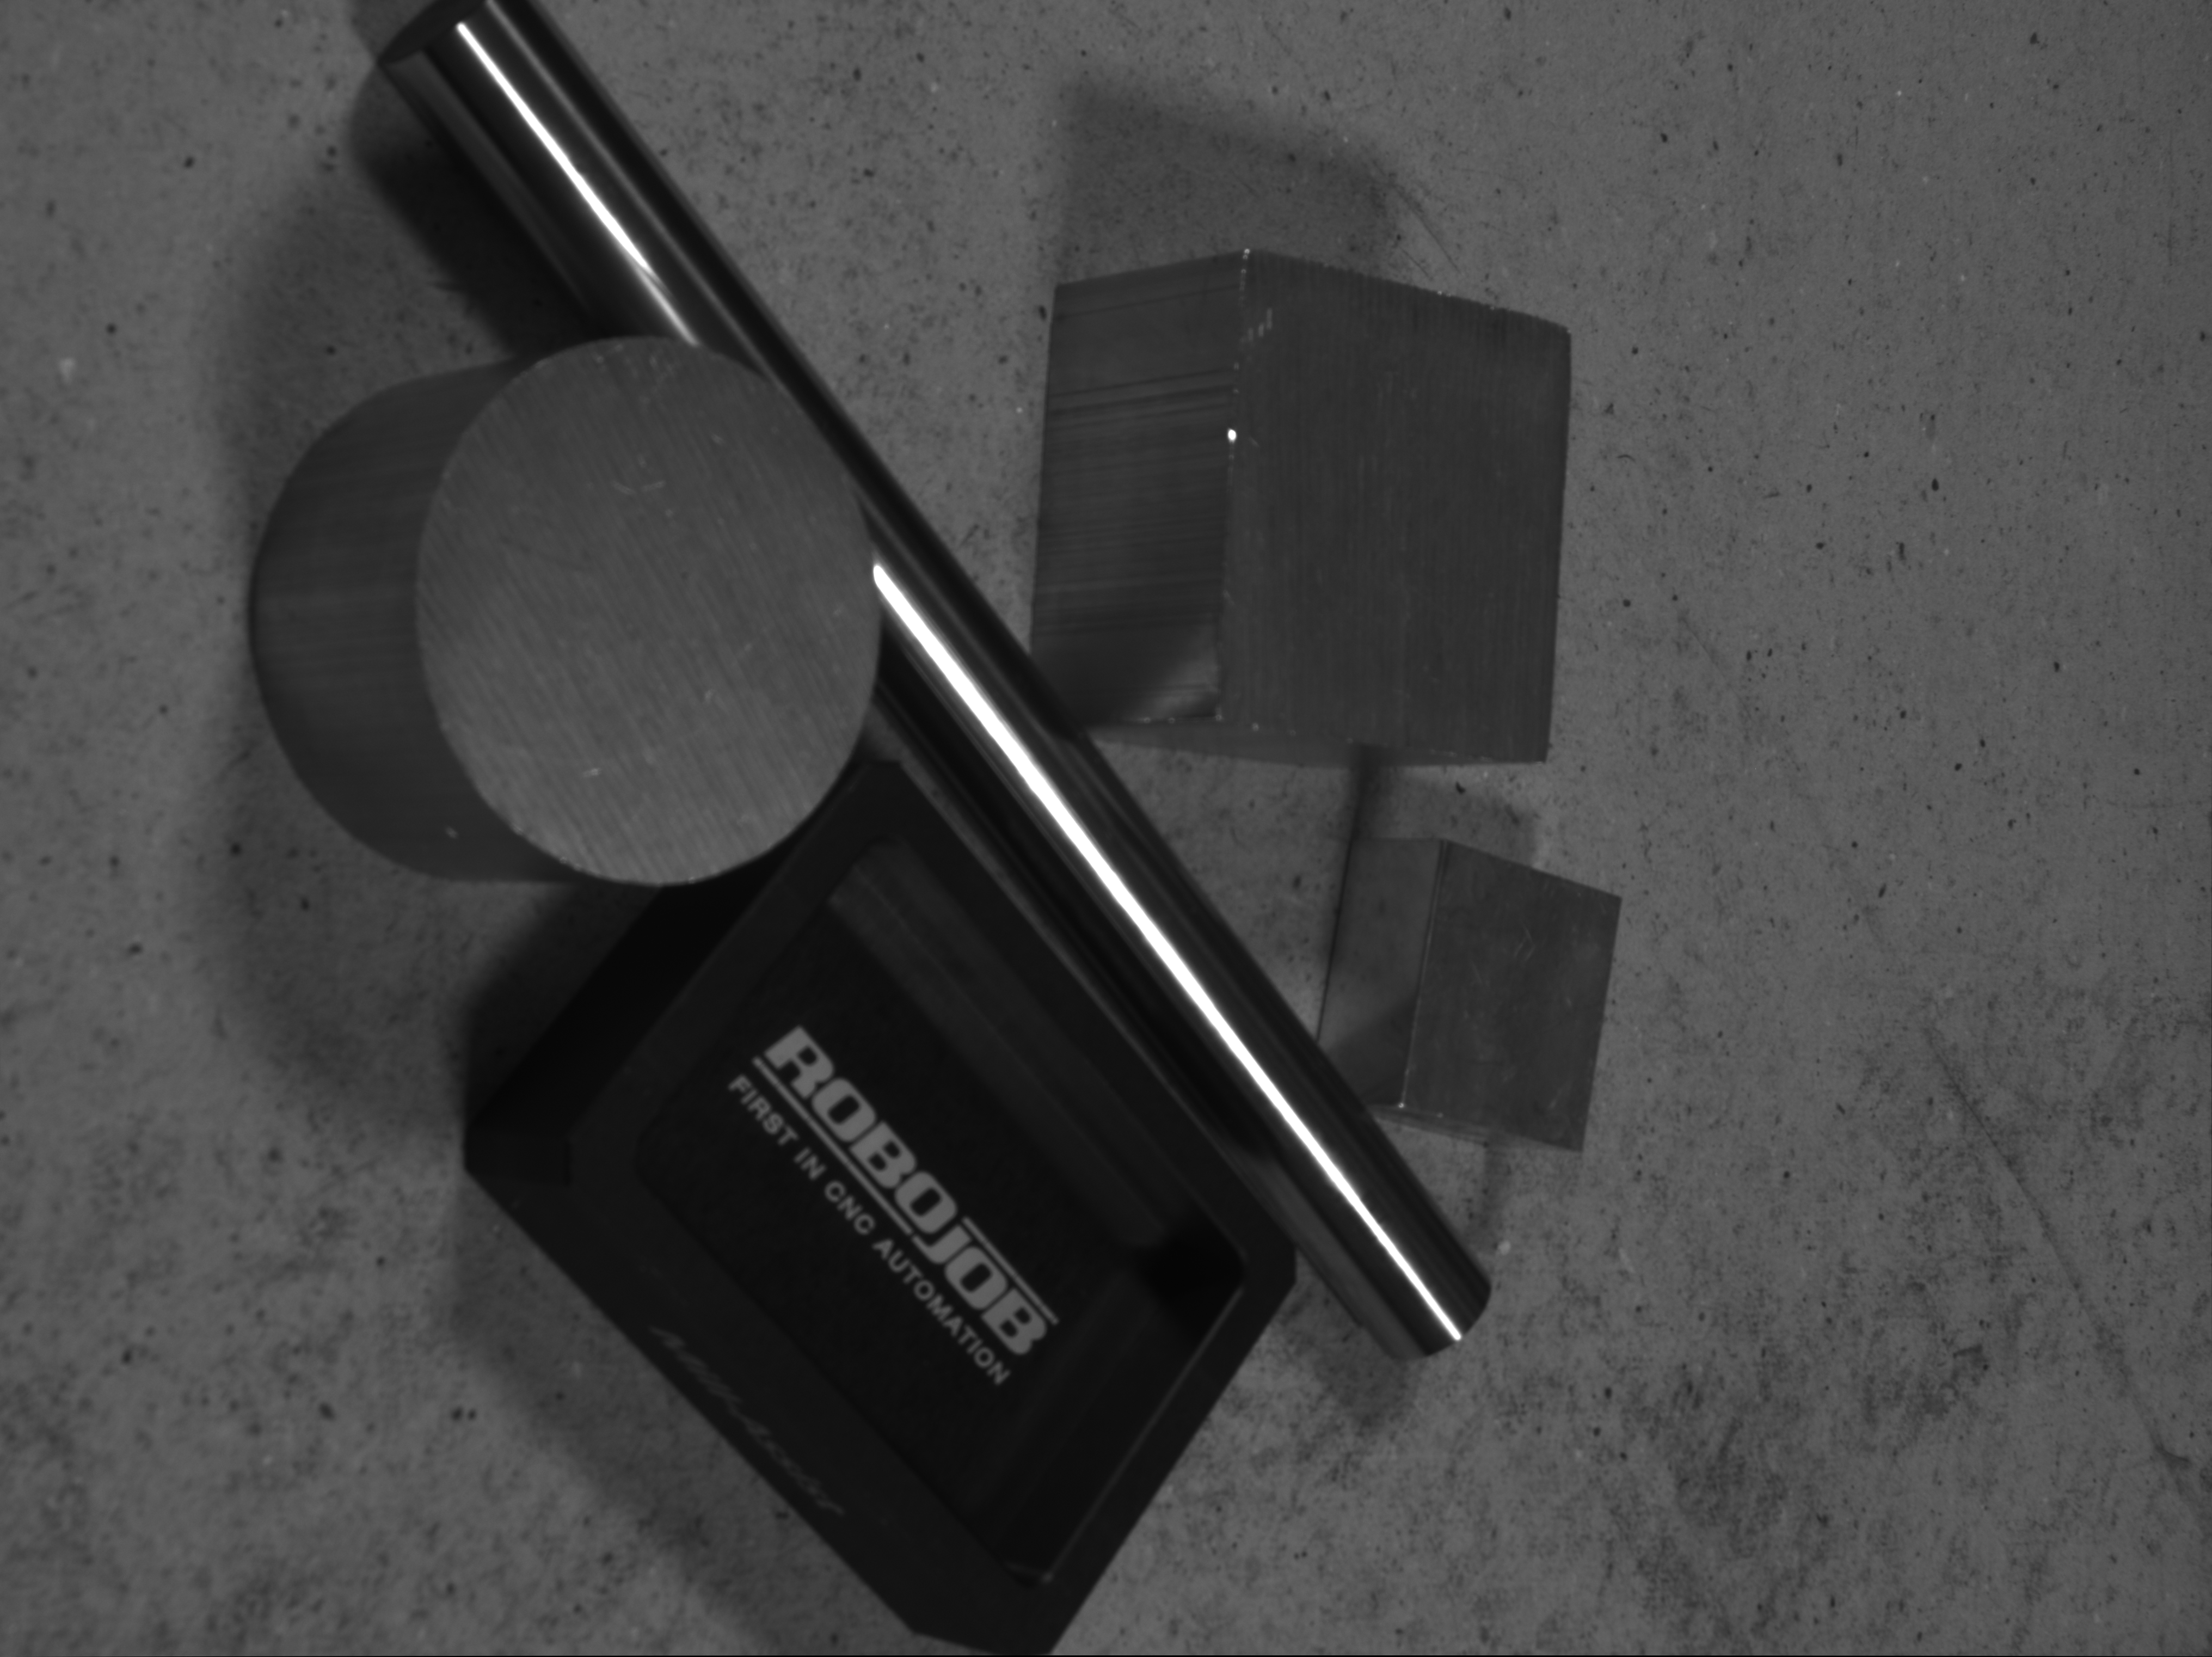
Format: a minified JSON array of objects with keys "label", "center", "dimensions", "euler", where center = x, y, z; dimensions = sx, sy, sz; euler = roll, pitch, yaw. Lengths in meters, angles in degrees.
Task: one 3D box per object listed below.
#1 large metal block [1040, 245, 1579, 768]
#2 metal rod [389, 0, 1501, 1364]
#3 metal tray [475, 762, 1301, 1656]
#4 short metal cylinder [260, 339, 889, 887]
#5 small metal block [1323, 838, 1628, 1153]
[{"label":"large metal block","center":[0.036,-0.054,0.651],"dimensions":[0.080,0.050,0.080],"euler":[6,86,-40]},{"label":"metal rod","center":[-0.018,-0.016,0.622],"dimensions":[0.025,0.025,0.301],"euler":[-52,120,-27]},{"label":"metal tray","center":[-0.032,0.063,0.607],"dimensions":[0.130,0.030,0.090],"euler":[52,60,-27]},{"label":"short metal cylinder","center":[-0.080,-0.031,0.555],"dimensions":[0.080,0.050,0.080],"euler":[0,90,-40]},{"label":"small metal block","center":[0.070,0.032,0.696],"dimensions":[0.050,0.025,0.050],"euler":[17,79,-39]}]
